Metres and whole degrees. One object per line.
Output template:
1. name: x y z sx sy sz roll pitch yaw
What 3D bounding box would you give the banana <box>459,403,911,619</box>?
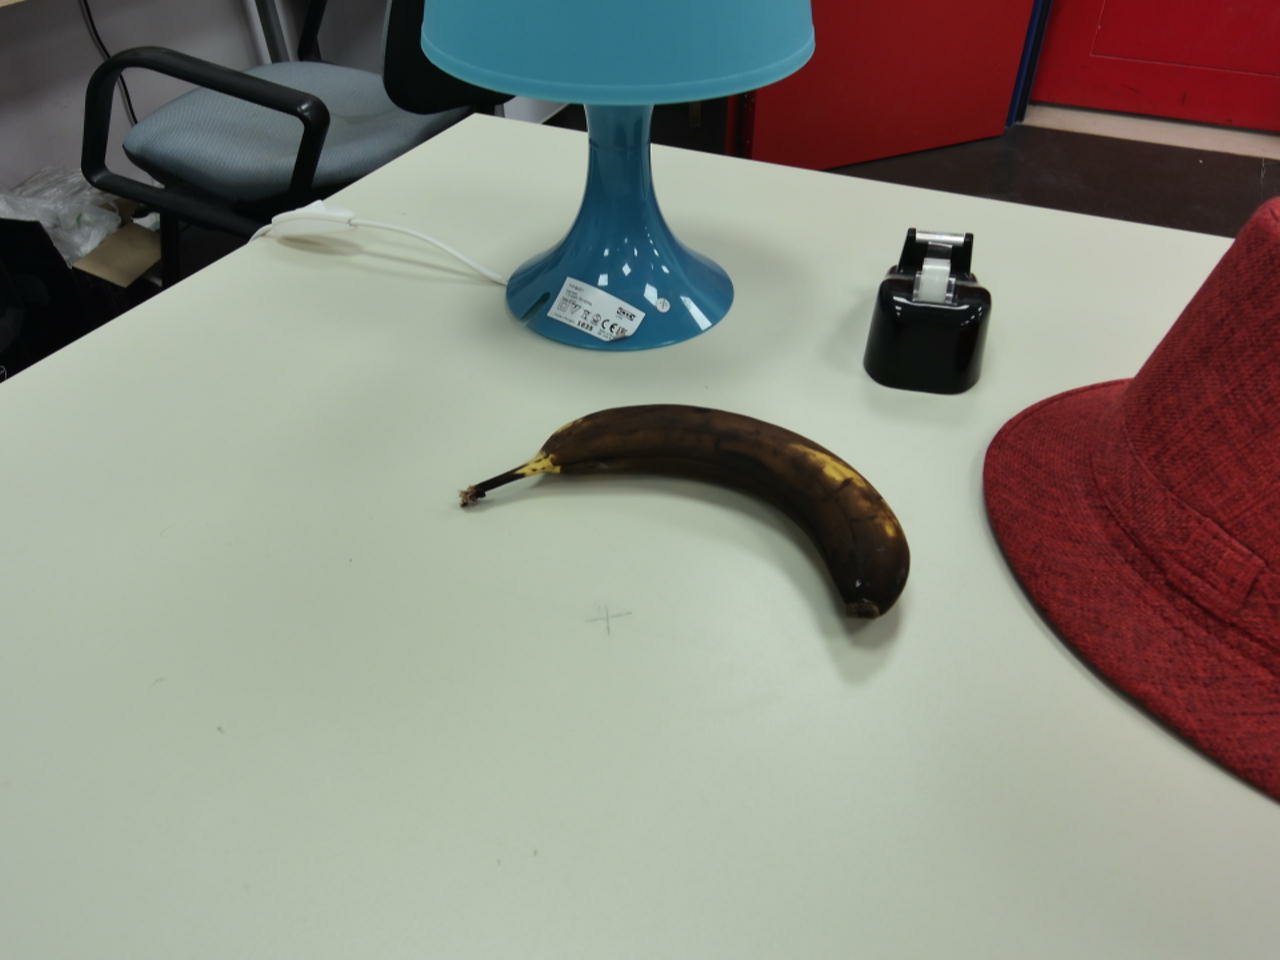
1. banana: 0.025 0.000 0.420 0.188 0.034 0.091 17 41 22
